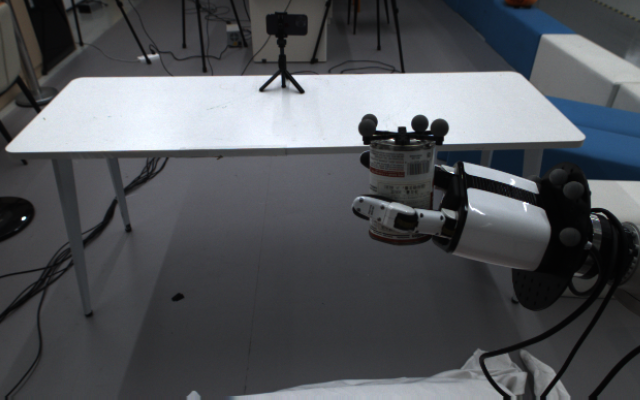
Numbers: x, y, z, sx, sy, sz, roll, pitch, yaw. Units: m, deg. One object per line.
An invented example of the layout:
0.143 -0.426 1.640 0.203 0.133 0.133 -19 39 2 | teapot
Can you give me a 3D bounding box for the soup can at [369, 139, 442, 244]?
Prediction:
0.087 -0.012 0.503 0.067 0.101 0.067 -1 17 0 | soup can
